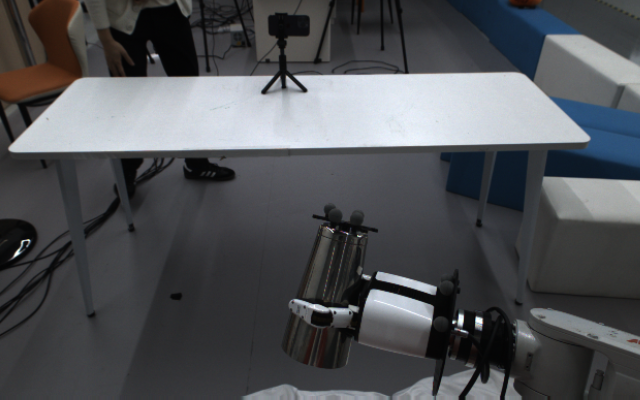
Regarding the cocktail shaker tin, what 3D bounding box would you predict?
[{"bbox_3d":[0.014,0.122,0.641,0.093,0.170,0.093,13,4,-1],"label":"cocktail shaker tin"}]
